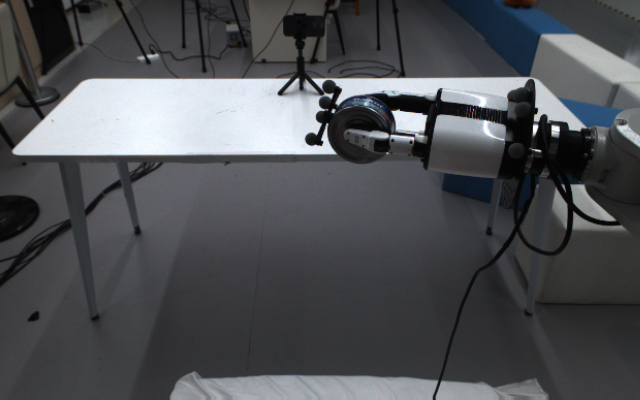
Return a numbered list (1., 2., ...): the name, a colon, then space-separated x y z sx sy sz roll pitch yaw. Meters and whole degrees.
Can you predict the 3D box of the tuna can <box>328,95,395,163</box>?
1. tuna can: 0.055 -0.092 0.633 0.085 0.085 0.034 10 35 11
